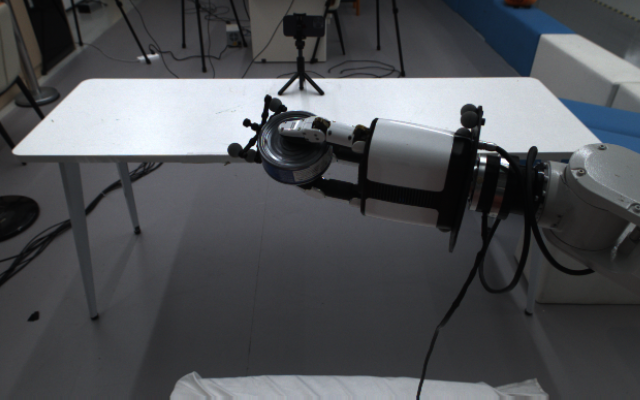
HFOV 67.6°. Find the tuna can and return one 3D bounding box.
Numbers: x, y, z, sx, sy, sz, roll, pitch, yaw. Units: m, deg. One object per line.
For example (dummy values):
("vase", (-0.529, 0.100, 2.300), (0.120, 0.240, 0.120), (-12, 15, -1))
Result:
("tuna can", (-0.026, -0.061, 0.562), (0.085, 0.034, 0.085), (-1, 61, 2))
